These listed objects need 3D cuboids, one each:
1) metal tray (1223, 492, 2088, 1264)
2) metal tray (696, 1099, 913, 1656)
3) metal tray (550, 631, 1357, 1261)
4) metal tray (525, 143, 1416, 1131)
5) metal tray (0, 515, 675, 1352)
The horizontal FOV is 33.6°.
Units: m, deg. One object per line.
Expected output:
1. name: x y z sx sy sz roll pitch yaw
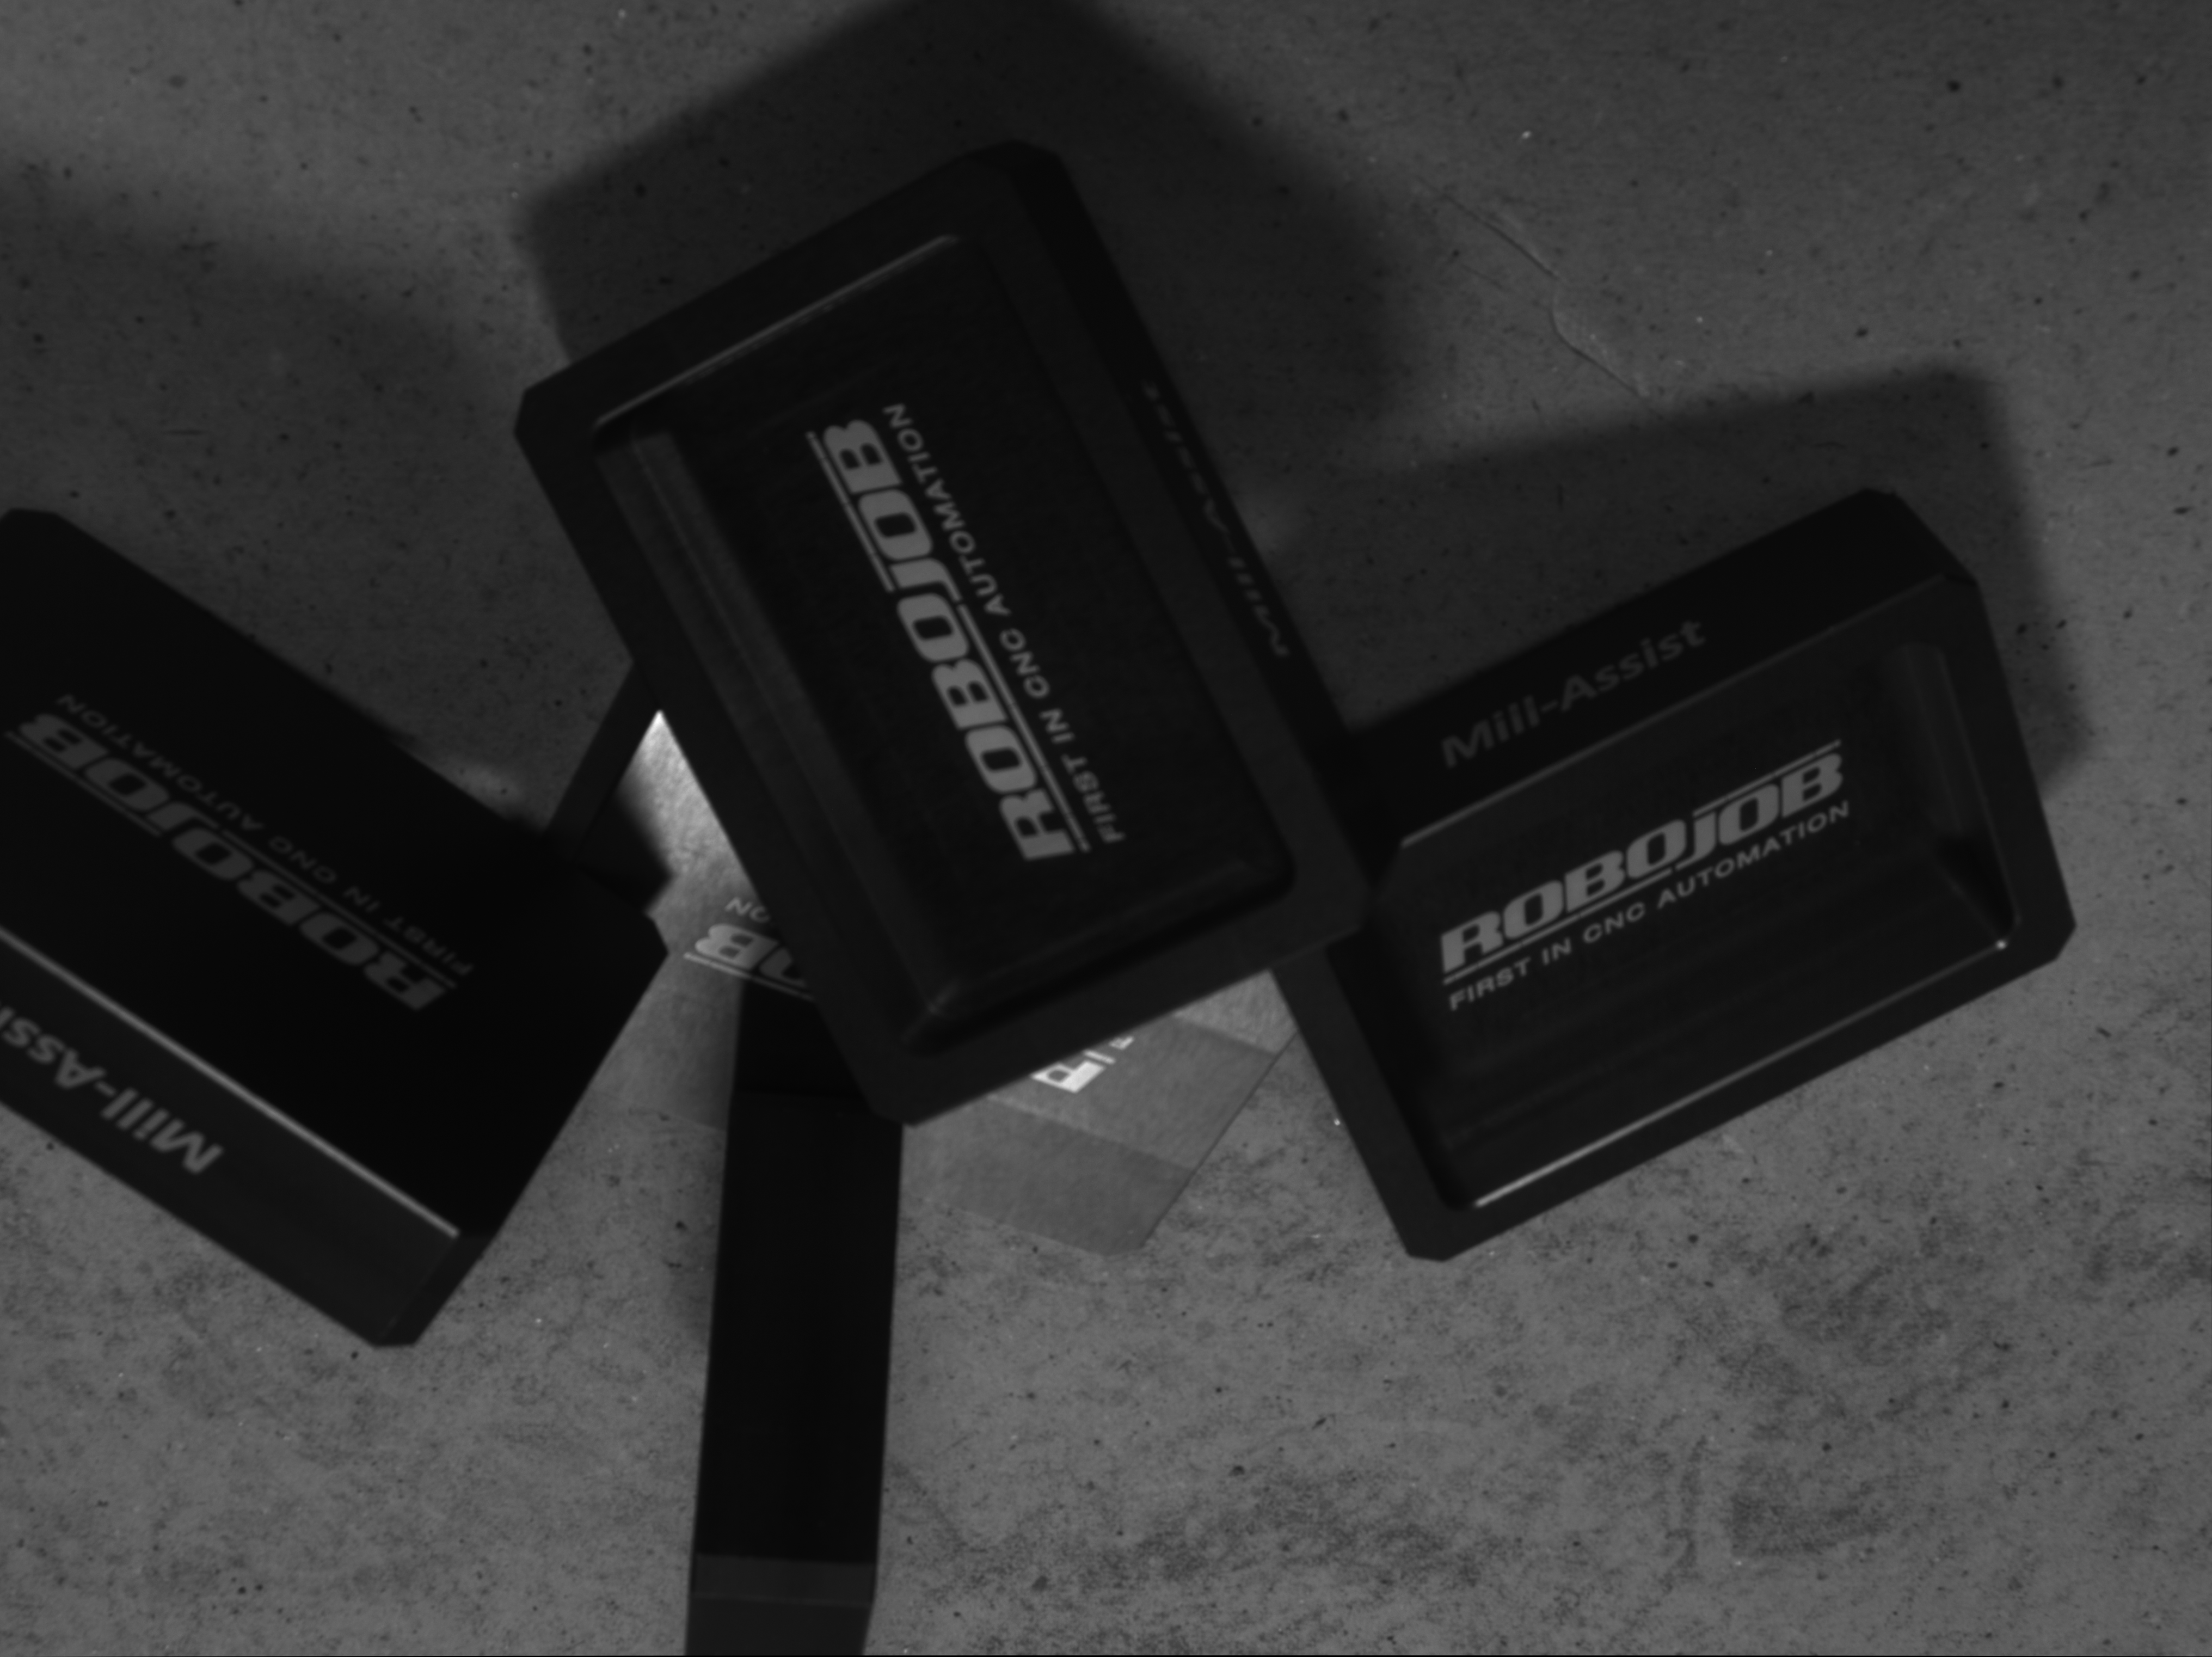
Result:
1. metal tray: 0.095 0.010 0.625 0.130 0.030 0.090 -26 127 0
2. metal tray: -0.056 0.117 0.667 0.030 0.090 0.130 5 150 -5
3. metal tray: -0.033 0.021 0.651 0.130 0.030 0.090 20 126 -18
4. metal tray: -0.020 -0.029 0.572 0.090 0.030 0.130 -25 97 18
5. metal tray: -0.142 0.015 0.584 0.130 0.090 0.030 35 122 -7
